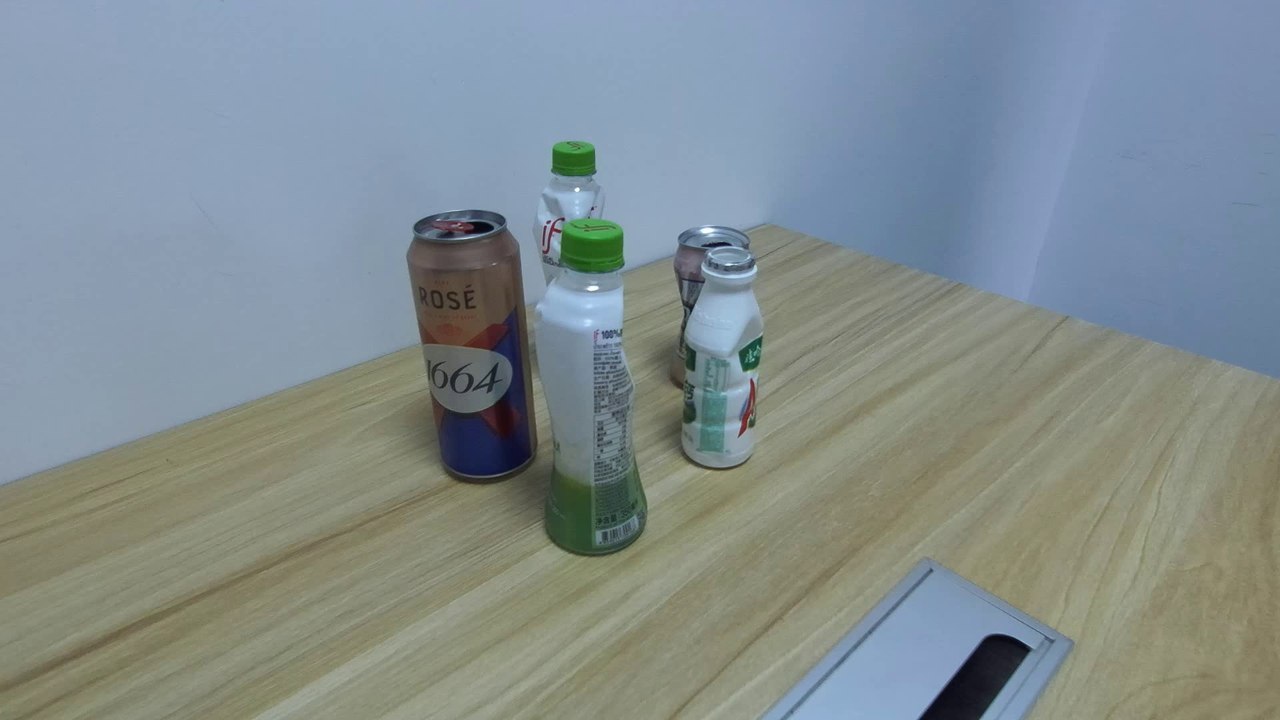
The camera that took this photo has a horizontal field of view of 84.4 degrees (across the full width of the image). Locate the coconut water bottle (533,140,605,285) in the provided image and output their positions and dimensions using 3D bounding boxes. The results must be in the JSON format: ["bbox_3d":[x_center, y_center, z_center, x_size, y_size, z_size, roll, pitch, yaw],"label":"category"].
[{"bbox_3d":[-0.047,-0.068,0.541,0.067,0.187,0.067,-1,23,1],"label":"coconut water bottle"}]

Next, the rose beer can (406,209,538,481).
[{"bbox_3d":[-0.105,-0.006,0.459,0.068,0.169,0.068,-1,28,1],"label":"rose beer can"}]

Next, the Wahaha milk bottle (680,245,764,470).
[{"bbox_3d":[0.055,0.000,0.460,0.056,0.148,0.056,1,28,0],"label":"Wahaha milk bottle"}]

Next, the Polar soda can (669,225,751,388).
[{"bbox_3d":[0.056,-0.040,0.557,0.067,0.122,0.074,-9,23,-25],"label":"Polar soda can"}]

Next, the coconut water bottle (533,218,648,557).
[{"bbox_3d":[-0.027,0.017,0.391,0.069,0.187,0.069,0,27,0],"label":"coconut water bottle"}]
